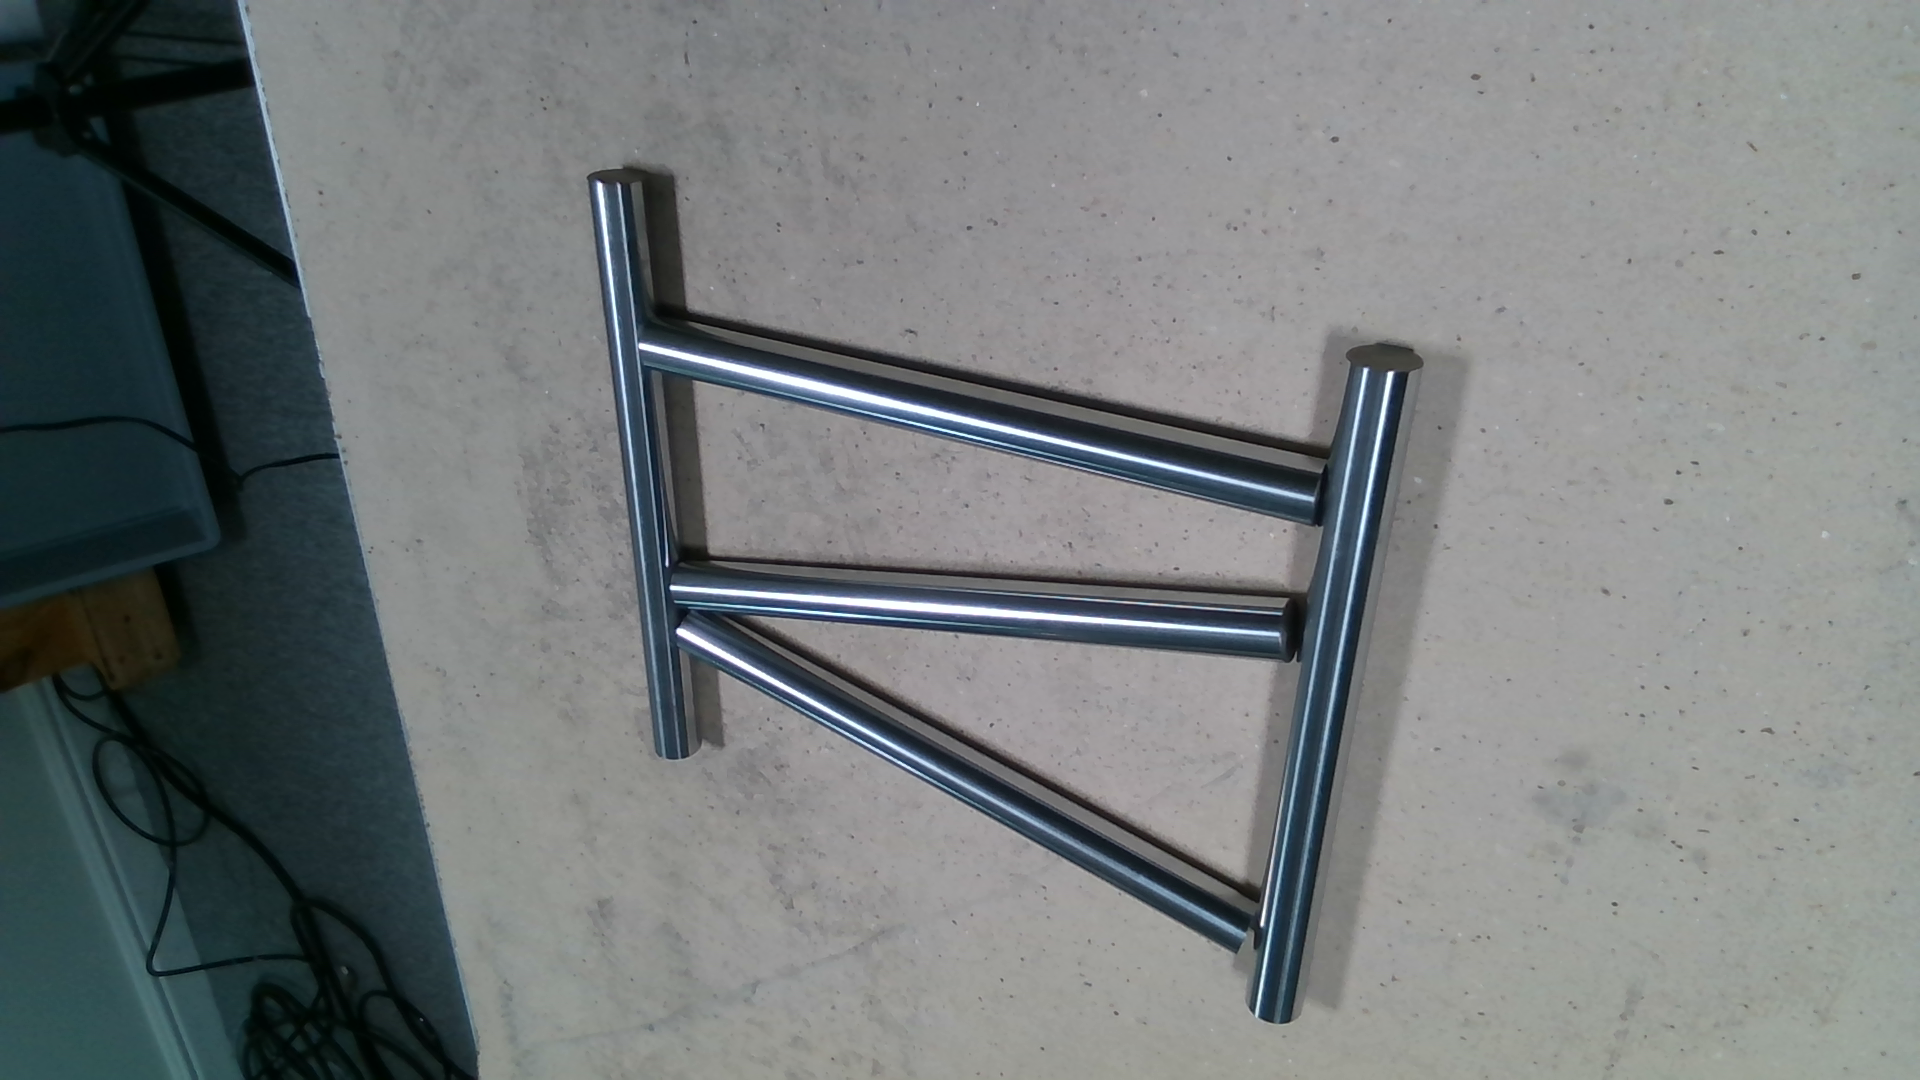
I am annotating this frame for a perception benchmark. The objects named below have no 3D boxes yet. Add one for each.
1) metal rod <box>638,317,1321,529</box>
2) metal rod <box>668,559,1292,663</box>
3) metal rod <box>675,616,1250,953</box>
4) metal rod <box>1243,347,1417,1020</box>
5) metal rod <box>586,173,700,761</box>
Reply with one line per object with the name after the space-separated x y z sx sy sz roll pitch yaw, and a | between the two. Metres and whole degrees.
-0.003 -0.051 0.553 0.300 0.025 0.025 15 122 24 | metal rod
-0.005 0.028 0.597 0.300 0.025 0.025 3 116 30 | metal rod
-0.005 0.105 0.640 0.300 0.025 0.025 26 126 17 | metal rod
0.138 0.071 0.534 0.025 0.025 0.301 15 122 24 | metal rod
-0.148 -0.022 0.657 0.025 0.025 0.301 15 122 24 | metal rod
